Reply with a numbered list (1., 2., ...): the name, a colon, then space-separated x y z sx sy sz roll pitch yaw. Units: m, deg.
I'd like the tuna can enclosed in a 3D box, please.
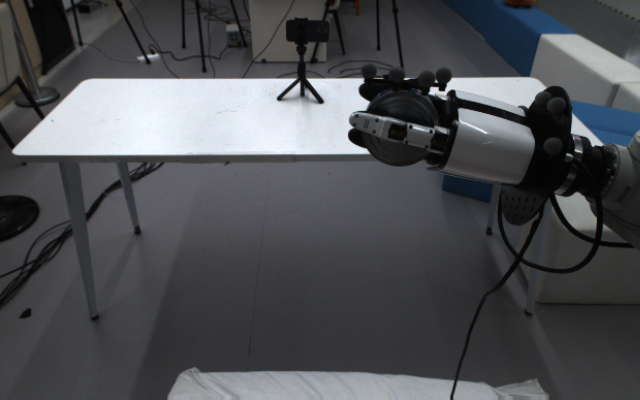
1. tuna can: 0.092 -0.084 0.548 0.085 0.085 0.034 7 23 6
